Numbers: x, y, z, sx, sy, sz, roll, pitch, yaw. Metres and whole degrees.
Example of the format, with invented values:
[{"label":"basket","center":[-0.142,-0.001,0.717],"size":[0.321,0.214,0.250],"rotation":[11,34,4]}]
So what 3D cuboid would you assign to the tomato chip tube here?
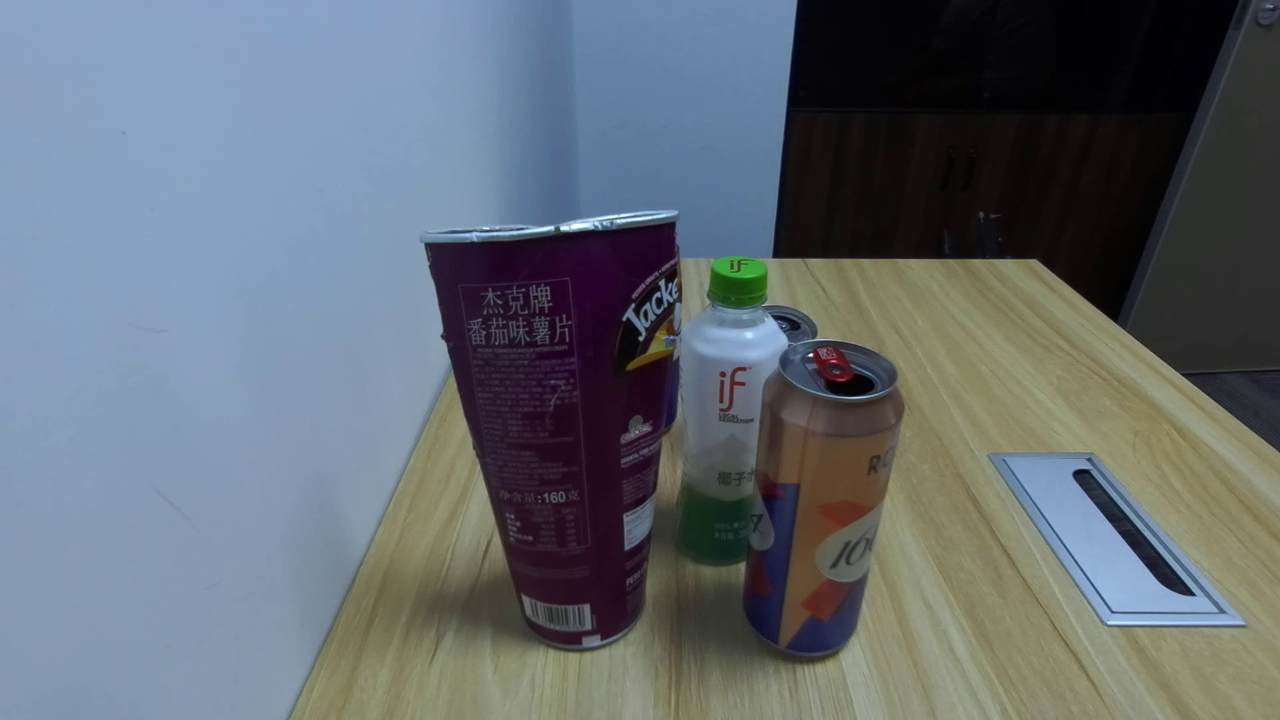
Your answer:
[{"label":"tomato chip tube","center":[-0.032,0.042,0.365],"size":[0.090,0.236,0.078],"rotation":[10,31,23]}]

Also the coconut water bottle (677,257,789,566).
[{"label":"coconut water bottle","center":[0.054,0.033,0.425],"size":[0.063,0.189,0.063],"rotation":[1,28,0]}]

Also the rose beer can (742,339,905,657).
[{"label":"rose beer can","center":[0.092,0.077,0.370],"size":[0.068,0.169,0.068],"rotation":[1,30,0]}]
